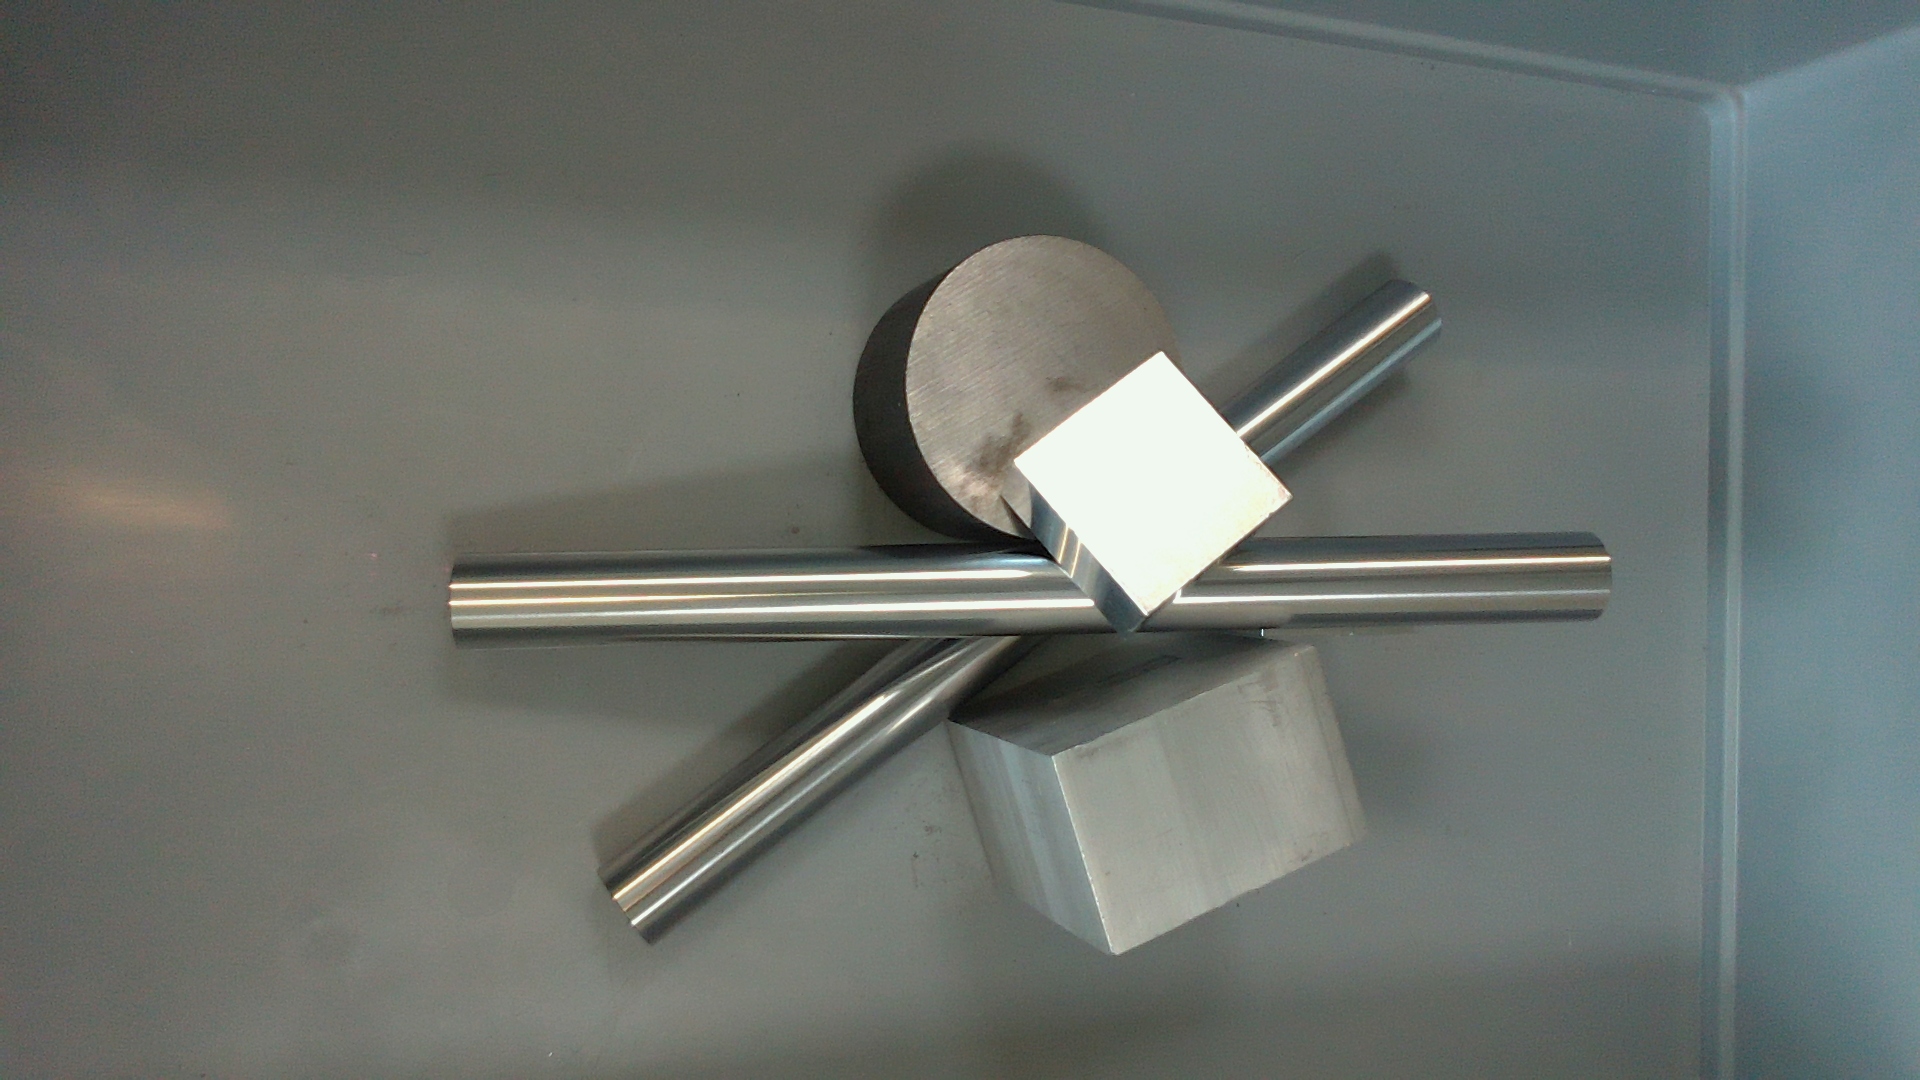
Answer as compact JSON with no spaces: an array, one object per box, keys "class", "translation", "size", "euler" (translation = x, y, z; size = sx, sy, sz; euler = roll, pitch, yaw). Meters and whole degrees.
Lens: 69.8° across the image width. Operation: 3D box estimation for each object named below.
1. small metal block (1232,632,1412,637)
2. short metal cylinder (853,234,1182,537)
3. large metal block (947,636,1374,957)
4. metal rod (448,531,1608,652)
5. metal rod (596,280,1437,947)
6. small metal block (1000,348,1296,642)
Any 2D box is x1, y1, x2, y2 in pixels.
[{"class":"small metal block","translation":[0.100,0.015,0.416],"size":[0.050,0.050,0.025],"euler":[0,90,-19]},{"class":"short metal cylinder","translation":[0.015,-0.040,0.384],"size":[0.080,0.050,0.080],"euler":[0,89,-20]},{"class":"large metal block","translation":[0.052,0.065,0.381],"size":[0.080,0.080,0.050],"euler":[-19,97,-19]},{"class":"metal rod","translation":[0.023,0.013,0.364],"size":[0.300,0.025,0.025],"euler":[-1,91,-7]},{"class":"metal rod","translation":[0.028,0.012,0.403],"size":[0.301,0.025,0.025],"euler":[-36,102,-16]},{"class":"small metal block","translation":[0.047,-0.011,0.347],"size":[0.050,0.025,0.050],"euler":[-37,79,-16]}]
